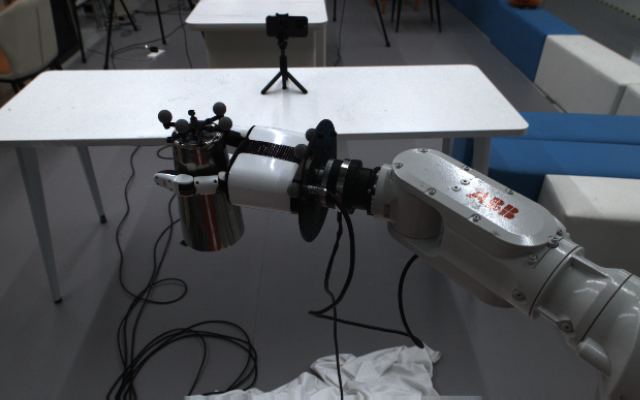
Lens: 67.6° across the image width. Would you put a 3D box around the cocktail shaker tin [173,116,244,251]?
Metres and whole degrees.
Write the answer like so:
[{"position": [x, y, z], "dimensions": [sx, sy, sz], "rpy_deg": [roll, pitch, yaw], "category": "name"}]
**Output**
[{"position": [-0.156, -0.023, 0.676], "dimensions": [0.093, 0.170, 0.093], "rpy_deg": [1, 40, 0], "category": "cocktail shaker tin"}]
